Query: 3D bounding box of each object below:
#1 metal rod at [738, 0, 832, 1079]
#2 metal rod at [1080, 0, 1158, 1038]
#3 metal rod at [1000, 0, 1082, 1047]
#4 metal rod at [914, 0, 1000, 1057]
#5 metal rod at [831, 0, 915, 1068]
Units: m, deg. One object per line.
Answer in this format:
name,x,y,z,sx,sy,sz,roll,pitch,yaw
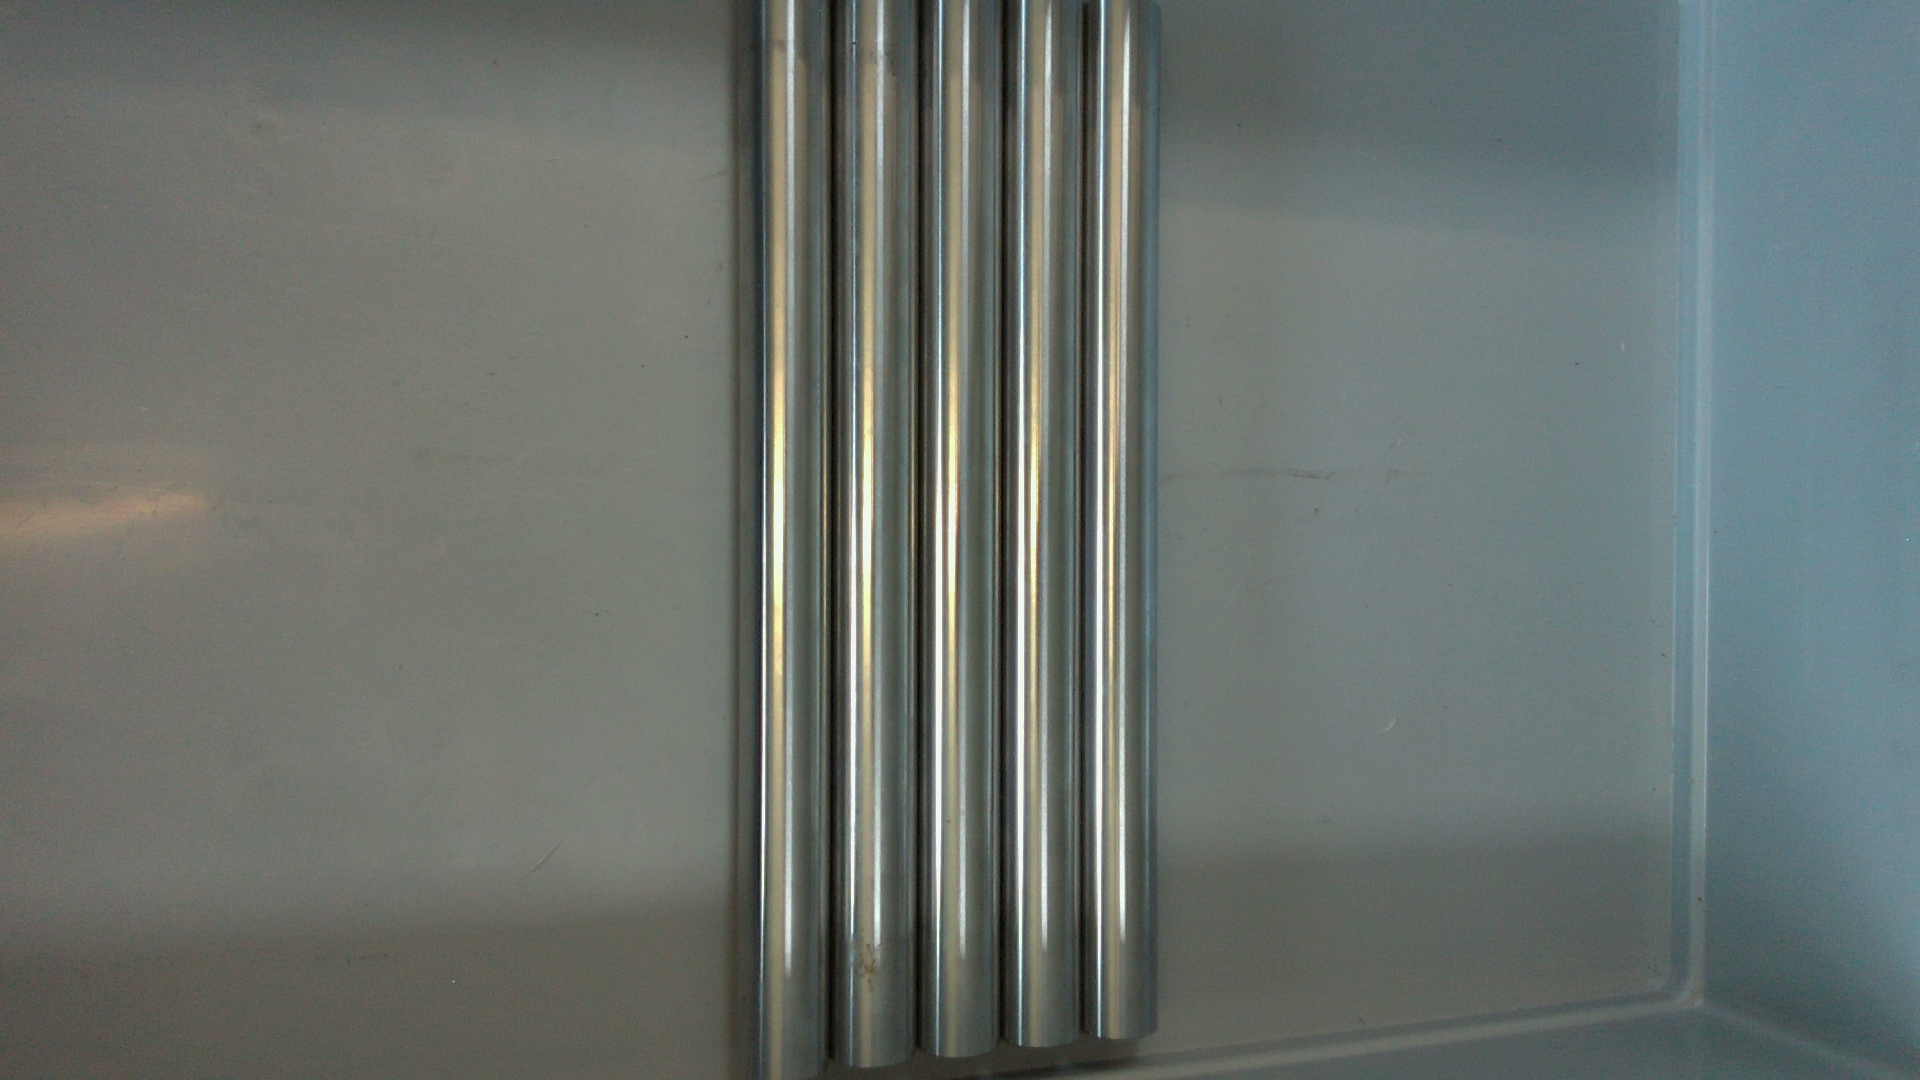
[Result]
metal rod,-0.048,-0.007,0.375,0.025,0.025,0.300,0,90,-20
metal rod,0.046,-0.006,0.409,0.025,0.025,0.300,0,90,-20
metal rod,0.023,-0.007,0.401,0.025,0.025,0.300,0,90,-20
metal rod,-0.001,-0.007,0.392,0.025,0.025,0.300,0,90,-20
metal rod,-0.025,-0.008,0.383,0.025,0.025,0.300,0,90,-20
